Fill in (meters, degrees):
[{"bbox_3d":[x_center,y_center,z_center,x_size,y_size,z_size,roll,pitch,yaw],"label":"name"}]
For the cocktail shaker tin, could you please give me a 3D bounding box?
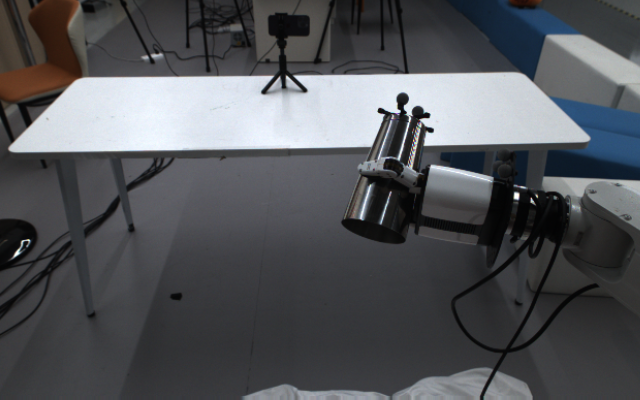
[{"bbox_3d":[0.099,-0.033,0.688,0.093,0.093,0.170,14,73,16],"label":"cocktail shaker tin"}]
